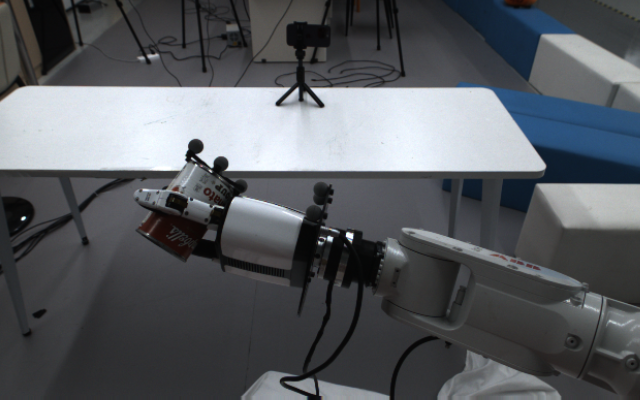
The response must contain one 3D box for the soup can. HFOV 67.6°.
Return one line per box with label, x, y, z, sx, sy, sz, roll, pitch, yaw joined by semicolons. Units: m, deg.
soup can;-0.156;0.014;0.568;0.067;0.067;0.101;23;71;27
